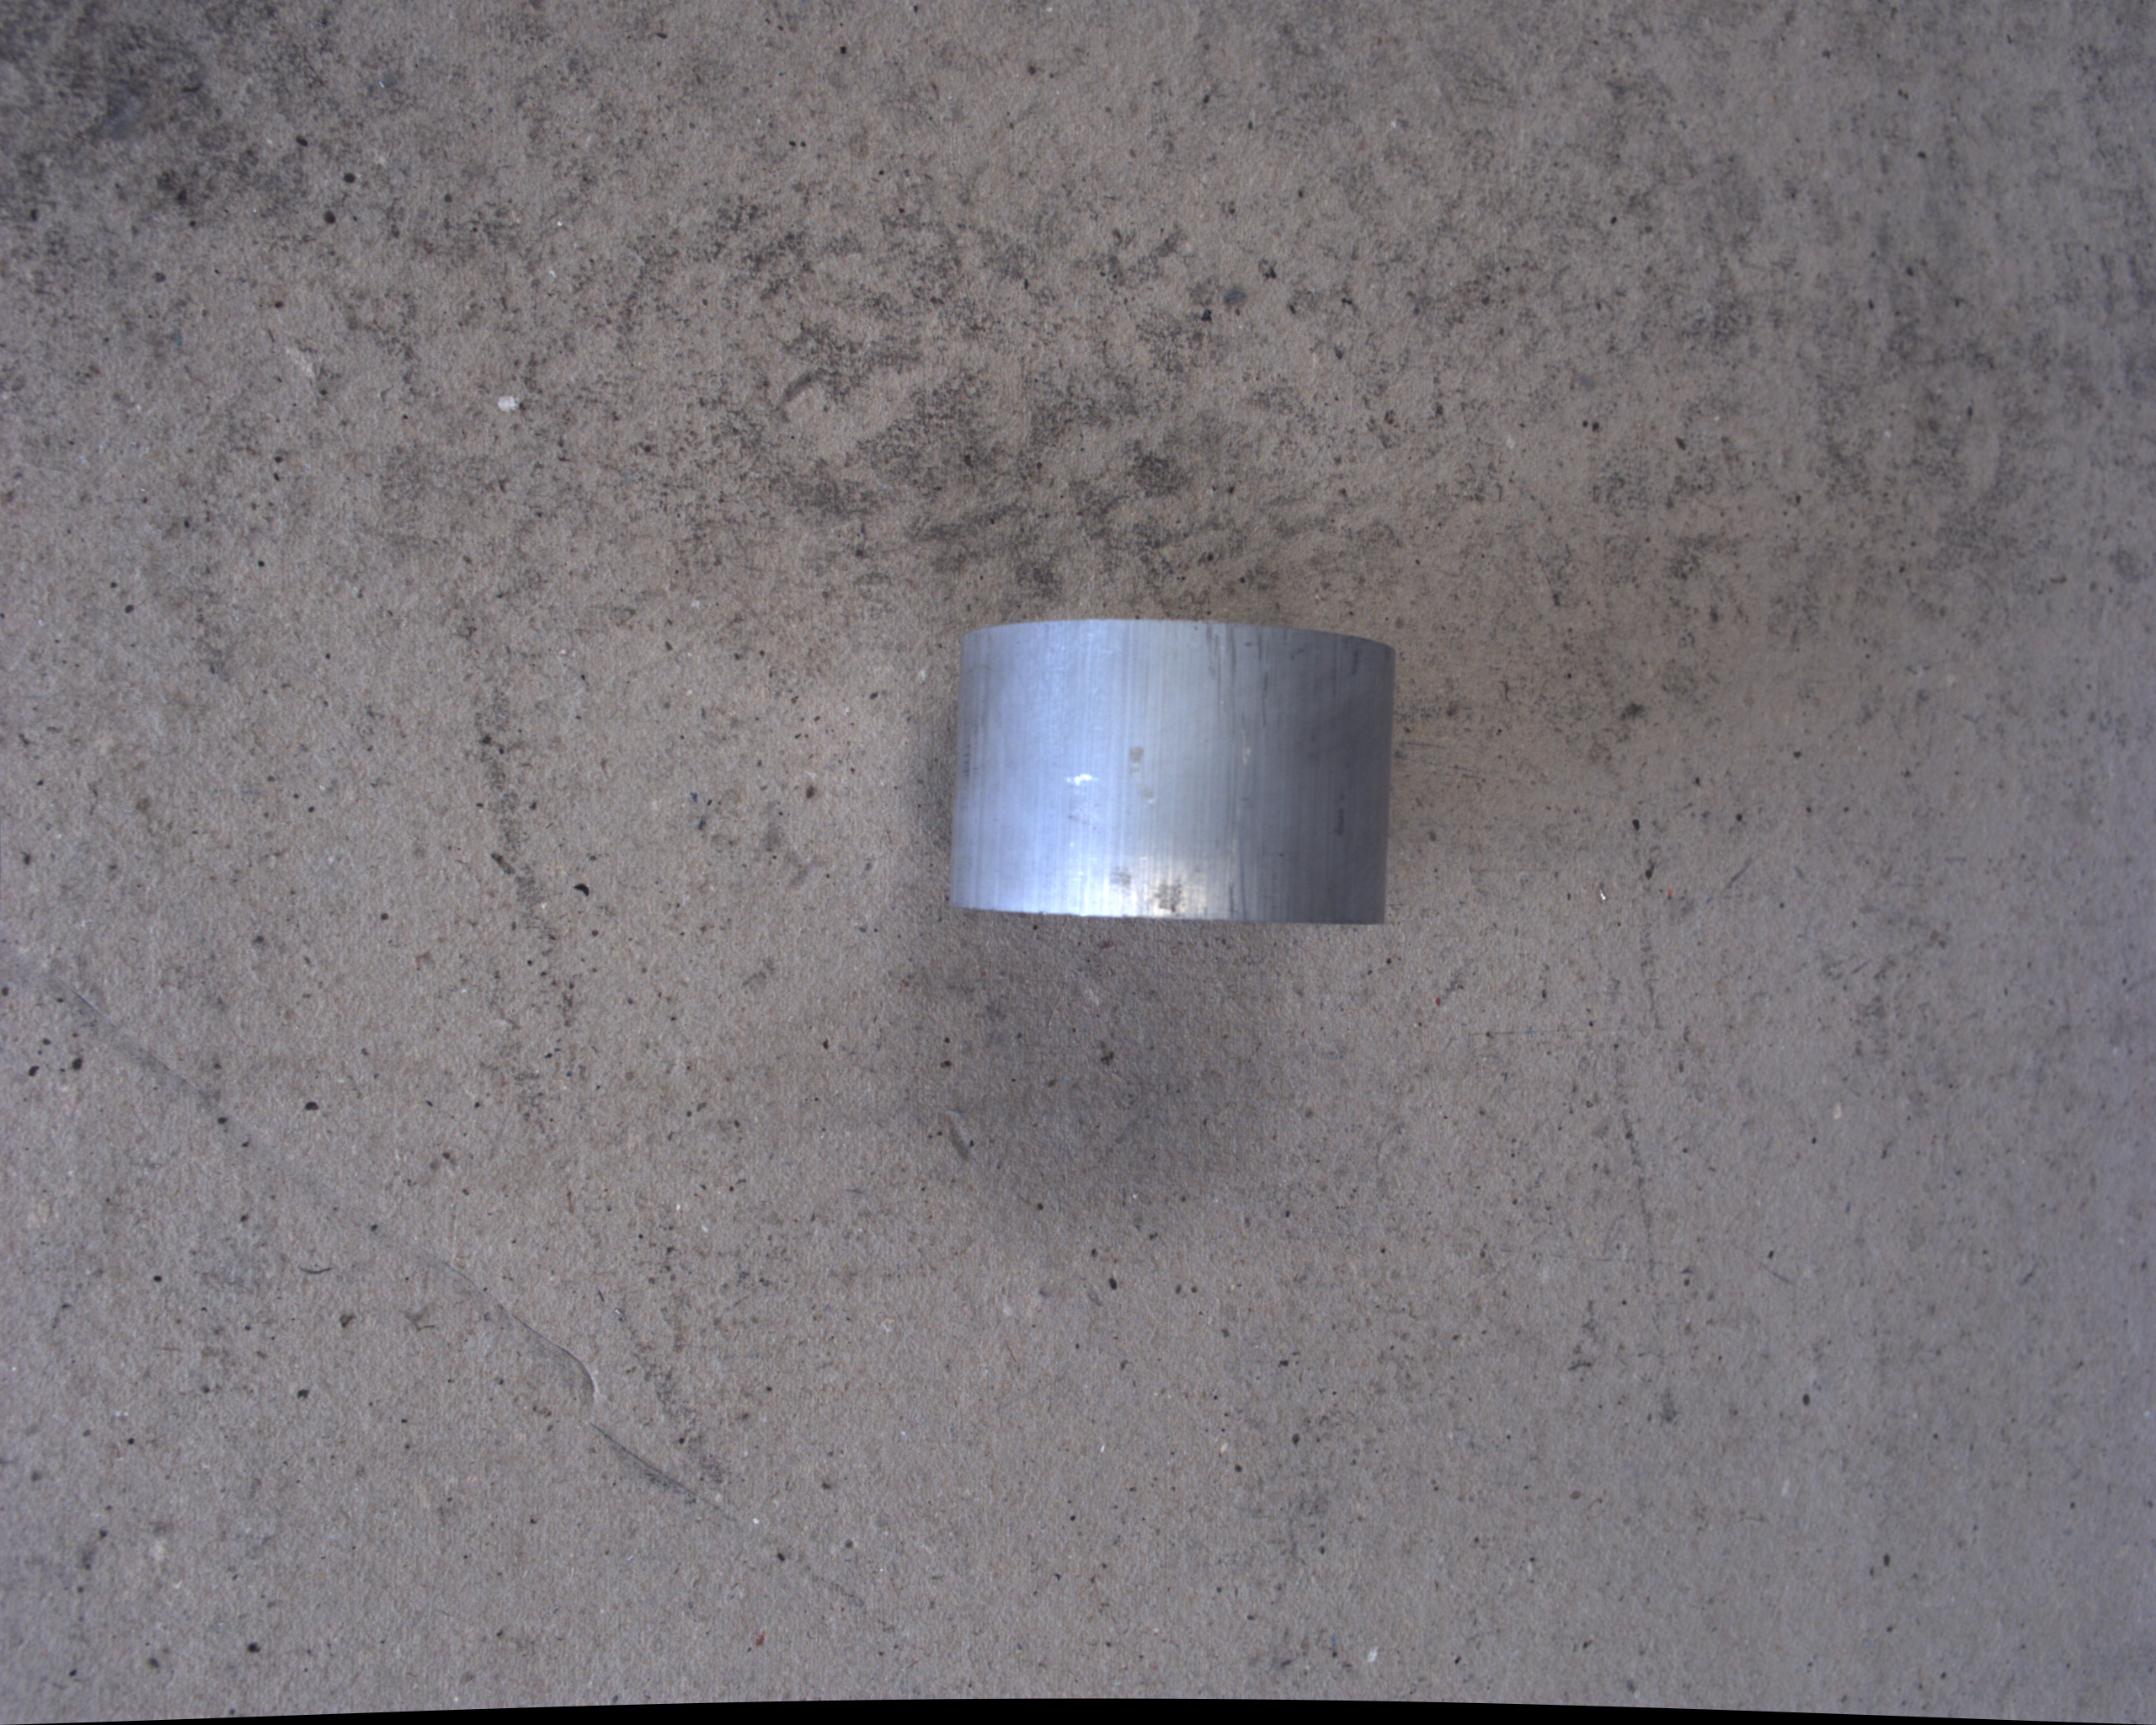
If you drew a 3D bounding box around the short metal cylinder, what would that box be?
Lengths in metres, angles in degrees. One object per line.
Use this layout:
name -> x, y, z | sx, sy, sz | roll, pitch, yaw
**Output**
short metal cylinder -> 0.017, -0.015, 0.387 | 0.081, 0.080, 0.050 | 2, 90, -20
